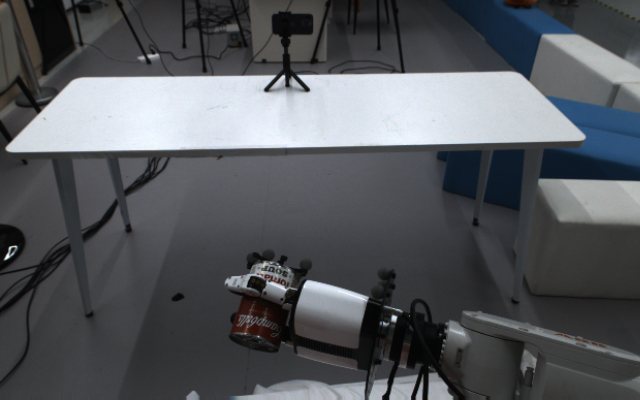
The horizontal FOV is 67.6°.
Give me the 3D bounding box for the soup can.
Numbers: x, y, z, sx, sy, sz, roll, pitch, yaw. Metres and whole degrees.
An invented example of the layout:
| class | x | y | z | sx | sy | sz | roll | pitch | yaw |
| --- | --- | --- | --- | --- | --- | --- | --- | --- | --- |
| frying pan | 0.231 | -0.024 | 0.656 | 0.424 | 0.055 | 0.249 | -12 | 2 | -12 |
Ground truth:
| class | x | y | z | sx | sy | sz | roll | pitch | yaw |
| --- | --- | --- | --- | --- | --- | --- | --- | --- | --- |
| soup can | -0.071 | 0.140 | 0.634 | 0.067 | 0.067 | 0.101 | 9 | 58 | 10 |
